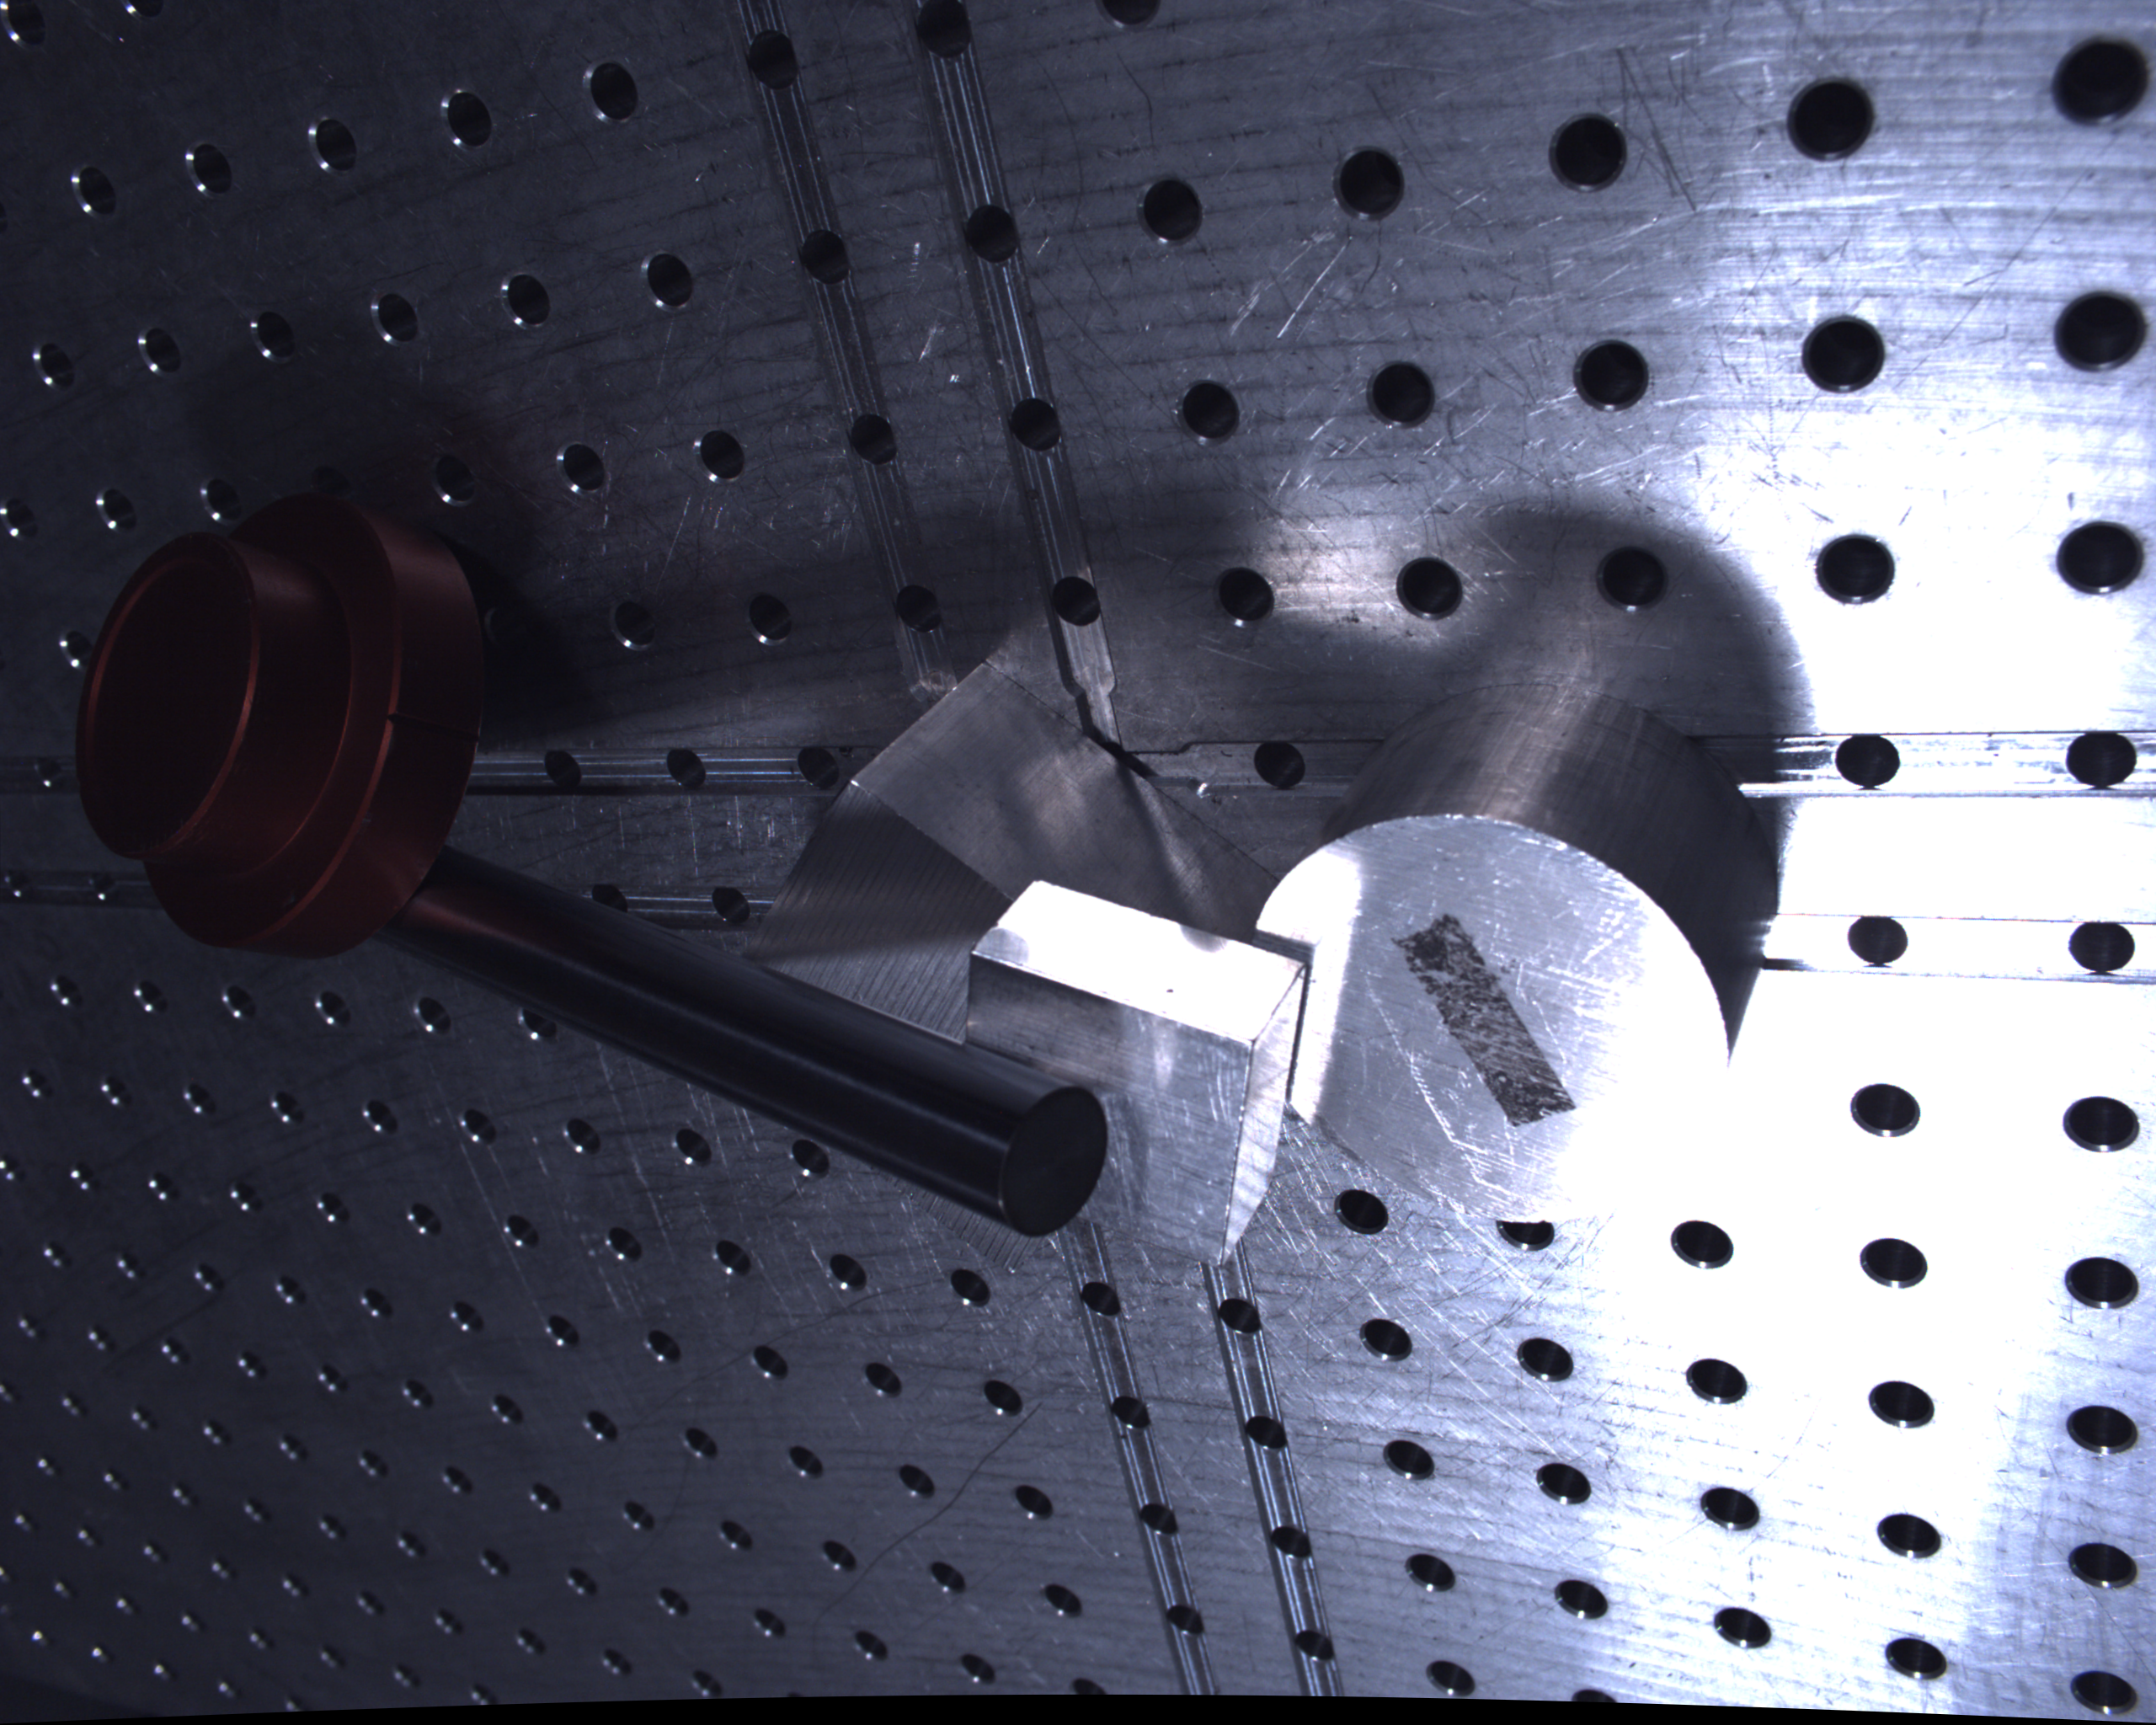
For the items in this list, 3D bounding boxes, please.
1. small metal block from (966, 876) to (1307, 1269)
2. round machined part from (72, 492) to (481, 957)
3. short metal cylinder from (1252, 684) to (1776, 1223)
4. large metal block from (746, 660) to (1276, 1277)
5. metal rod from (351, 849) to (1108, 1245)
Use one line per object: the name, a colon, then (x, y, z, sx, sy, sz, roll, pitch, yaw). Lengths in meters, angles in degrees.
small metal block: (0.009, 0.036, 0.360, 0.050, 0.025, 0.050, 17, 125, 18)
round machined part: (-0.172, -0.031, 0.435, 0.098, 0.042, 0.098, -9, 74, 37)
short metal cylinder: (0.076, 0.015, 0.363, 0.080, 0.050, 0.079, 13, 124, 20)
large metal block: (-0.016, 0.022, 0.413, 0.080, 0.050, 0.080, 37, 129, 2)
metal rod: (-0.115, 0.015, 0.423, 0.300, 0.025, 0.025, 16, 127, 39)
